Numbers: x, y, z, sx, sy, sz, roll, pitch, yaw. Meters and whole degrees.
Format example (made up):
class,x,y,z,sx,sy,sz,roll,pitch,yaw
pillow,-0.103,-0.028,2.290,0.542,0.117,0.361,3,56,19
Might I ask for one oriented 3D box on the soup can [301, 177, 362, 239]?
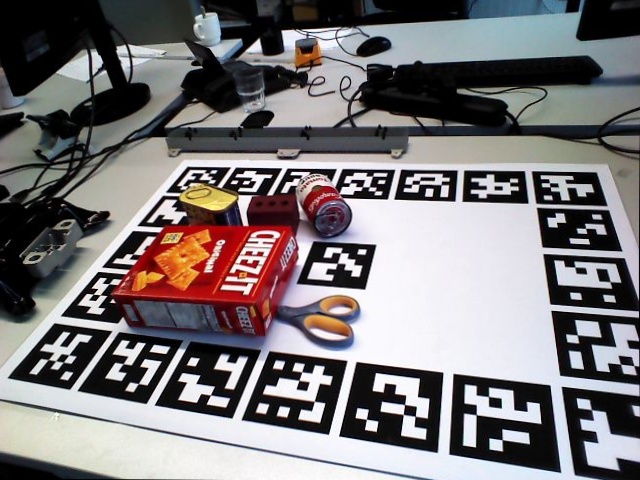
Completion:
class,x,y,z,sx,sy,sz,roll,pitch,yaw
soup can,0.017,-0.054,0.847,0.068,0.068,0.102,-22,35,-13

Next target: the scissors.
class,x,y,z,sx,sy,sz,roll,pitch,yaw
scissors,-0.046,0.100,0.683,0.204,0.016,0.087,-1,40,13

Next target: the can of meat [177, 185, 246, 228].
class,x,y,z,sx,sy,sz,roll,pitch,yaw
can of meat,-0.171,-0.036,0.843,0.102,0.084,0.057,12,45,26

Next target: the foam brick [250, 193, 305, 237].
class,x,y,z,sx,sy,sz,roll,pitch,yaw
foam brick,-0.069,-0.039,0.851,0.078,0.051,0.052,-5,40,8

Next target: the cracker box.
class,x,y,z,sx,sy,sz,roll,pitch,yaw
cracker box,-0.154,0.050,0.722,0.215,0.072,0.163,-4,38,15
